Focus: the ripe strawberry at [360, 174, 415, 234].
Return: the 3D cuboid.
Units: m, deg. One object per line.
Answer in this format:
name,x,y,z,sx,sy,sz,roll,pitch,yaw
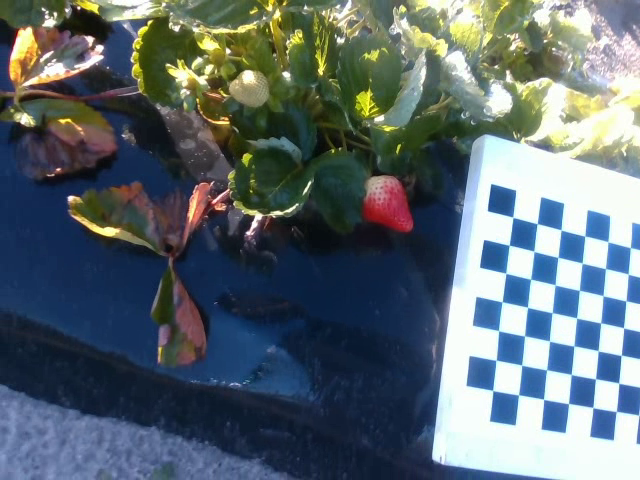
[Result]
ripe strawberry,0.062,-0.029,0.501,0.040,0.065,0.040,-38,3,-19
